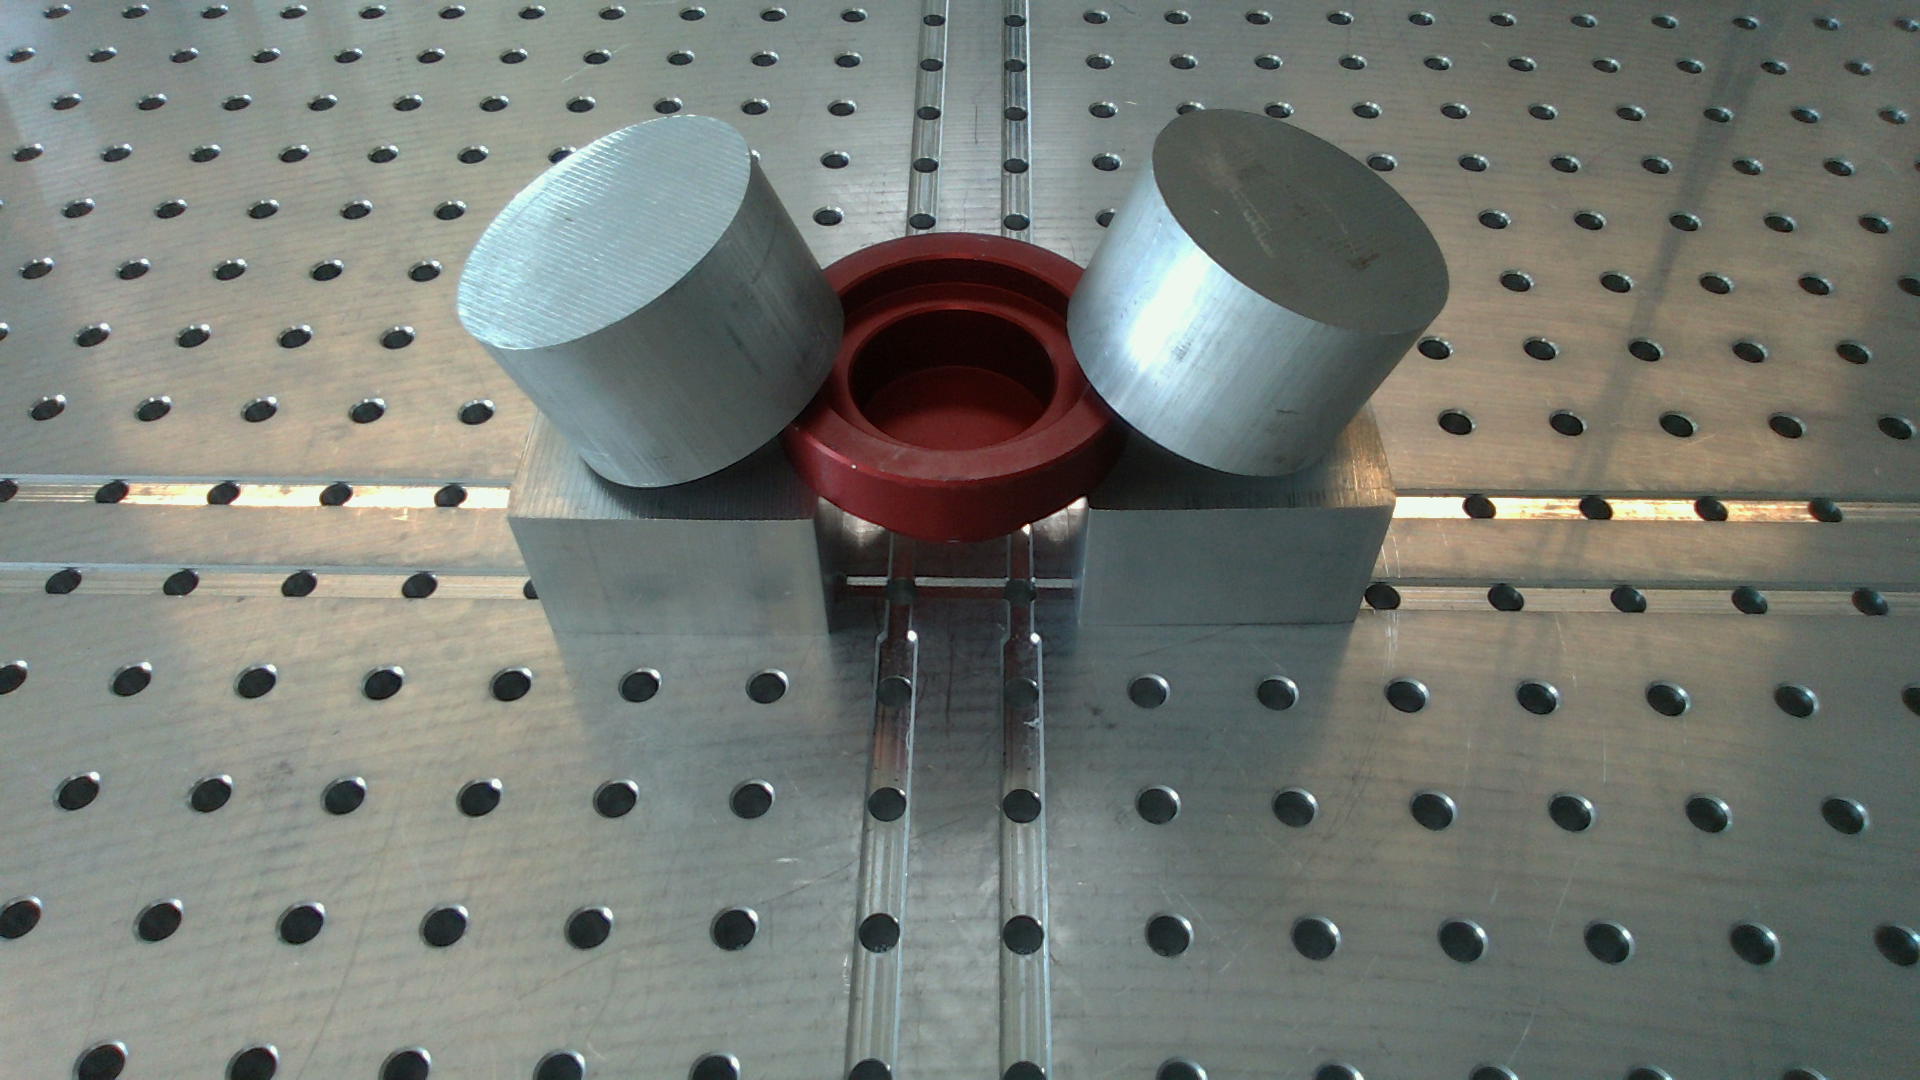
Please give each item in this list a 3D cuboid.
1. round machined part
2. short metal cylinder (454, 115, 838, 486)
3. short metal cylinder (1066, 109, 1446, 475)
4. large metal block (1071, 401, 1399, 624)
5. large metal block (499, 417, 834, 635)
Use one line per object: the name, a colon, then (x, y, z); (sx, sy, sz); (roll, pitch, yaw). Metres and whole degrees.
round machined part: (-0.002, -0.038, 0.377); (0.098, 0.042, 0.098); (0, 50, 0)
short metal cylinder: (-0.077, -0.061, 0.347); (0.080, 0.050, 0.080); (-14, 49, 17)
short metal cylinder: (0.074, -0.063, 0.349); (0.080, 0.050, 0.080); (13, 48, -15)
large metal block: (0.072, -0.023, 0.398); (0.080, 0.050, 0.080); (-1, 50, 0)
large metal block: (-0.077, -0.020, 0.395); (0.080, 0.050, 0.080); (1, 50, 1)
